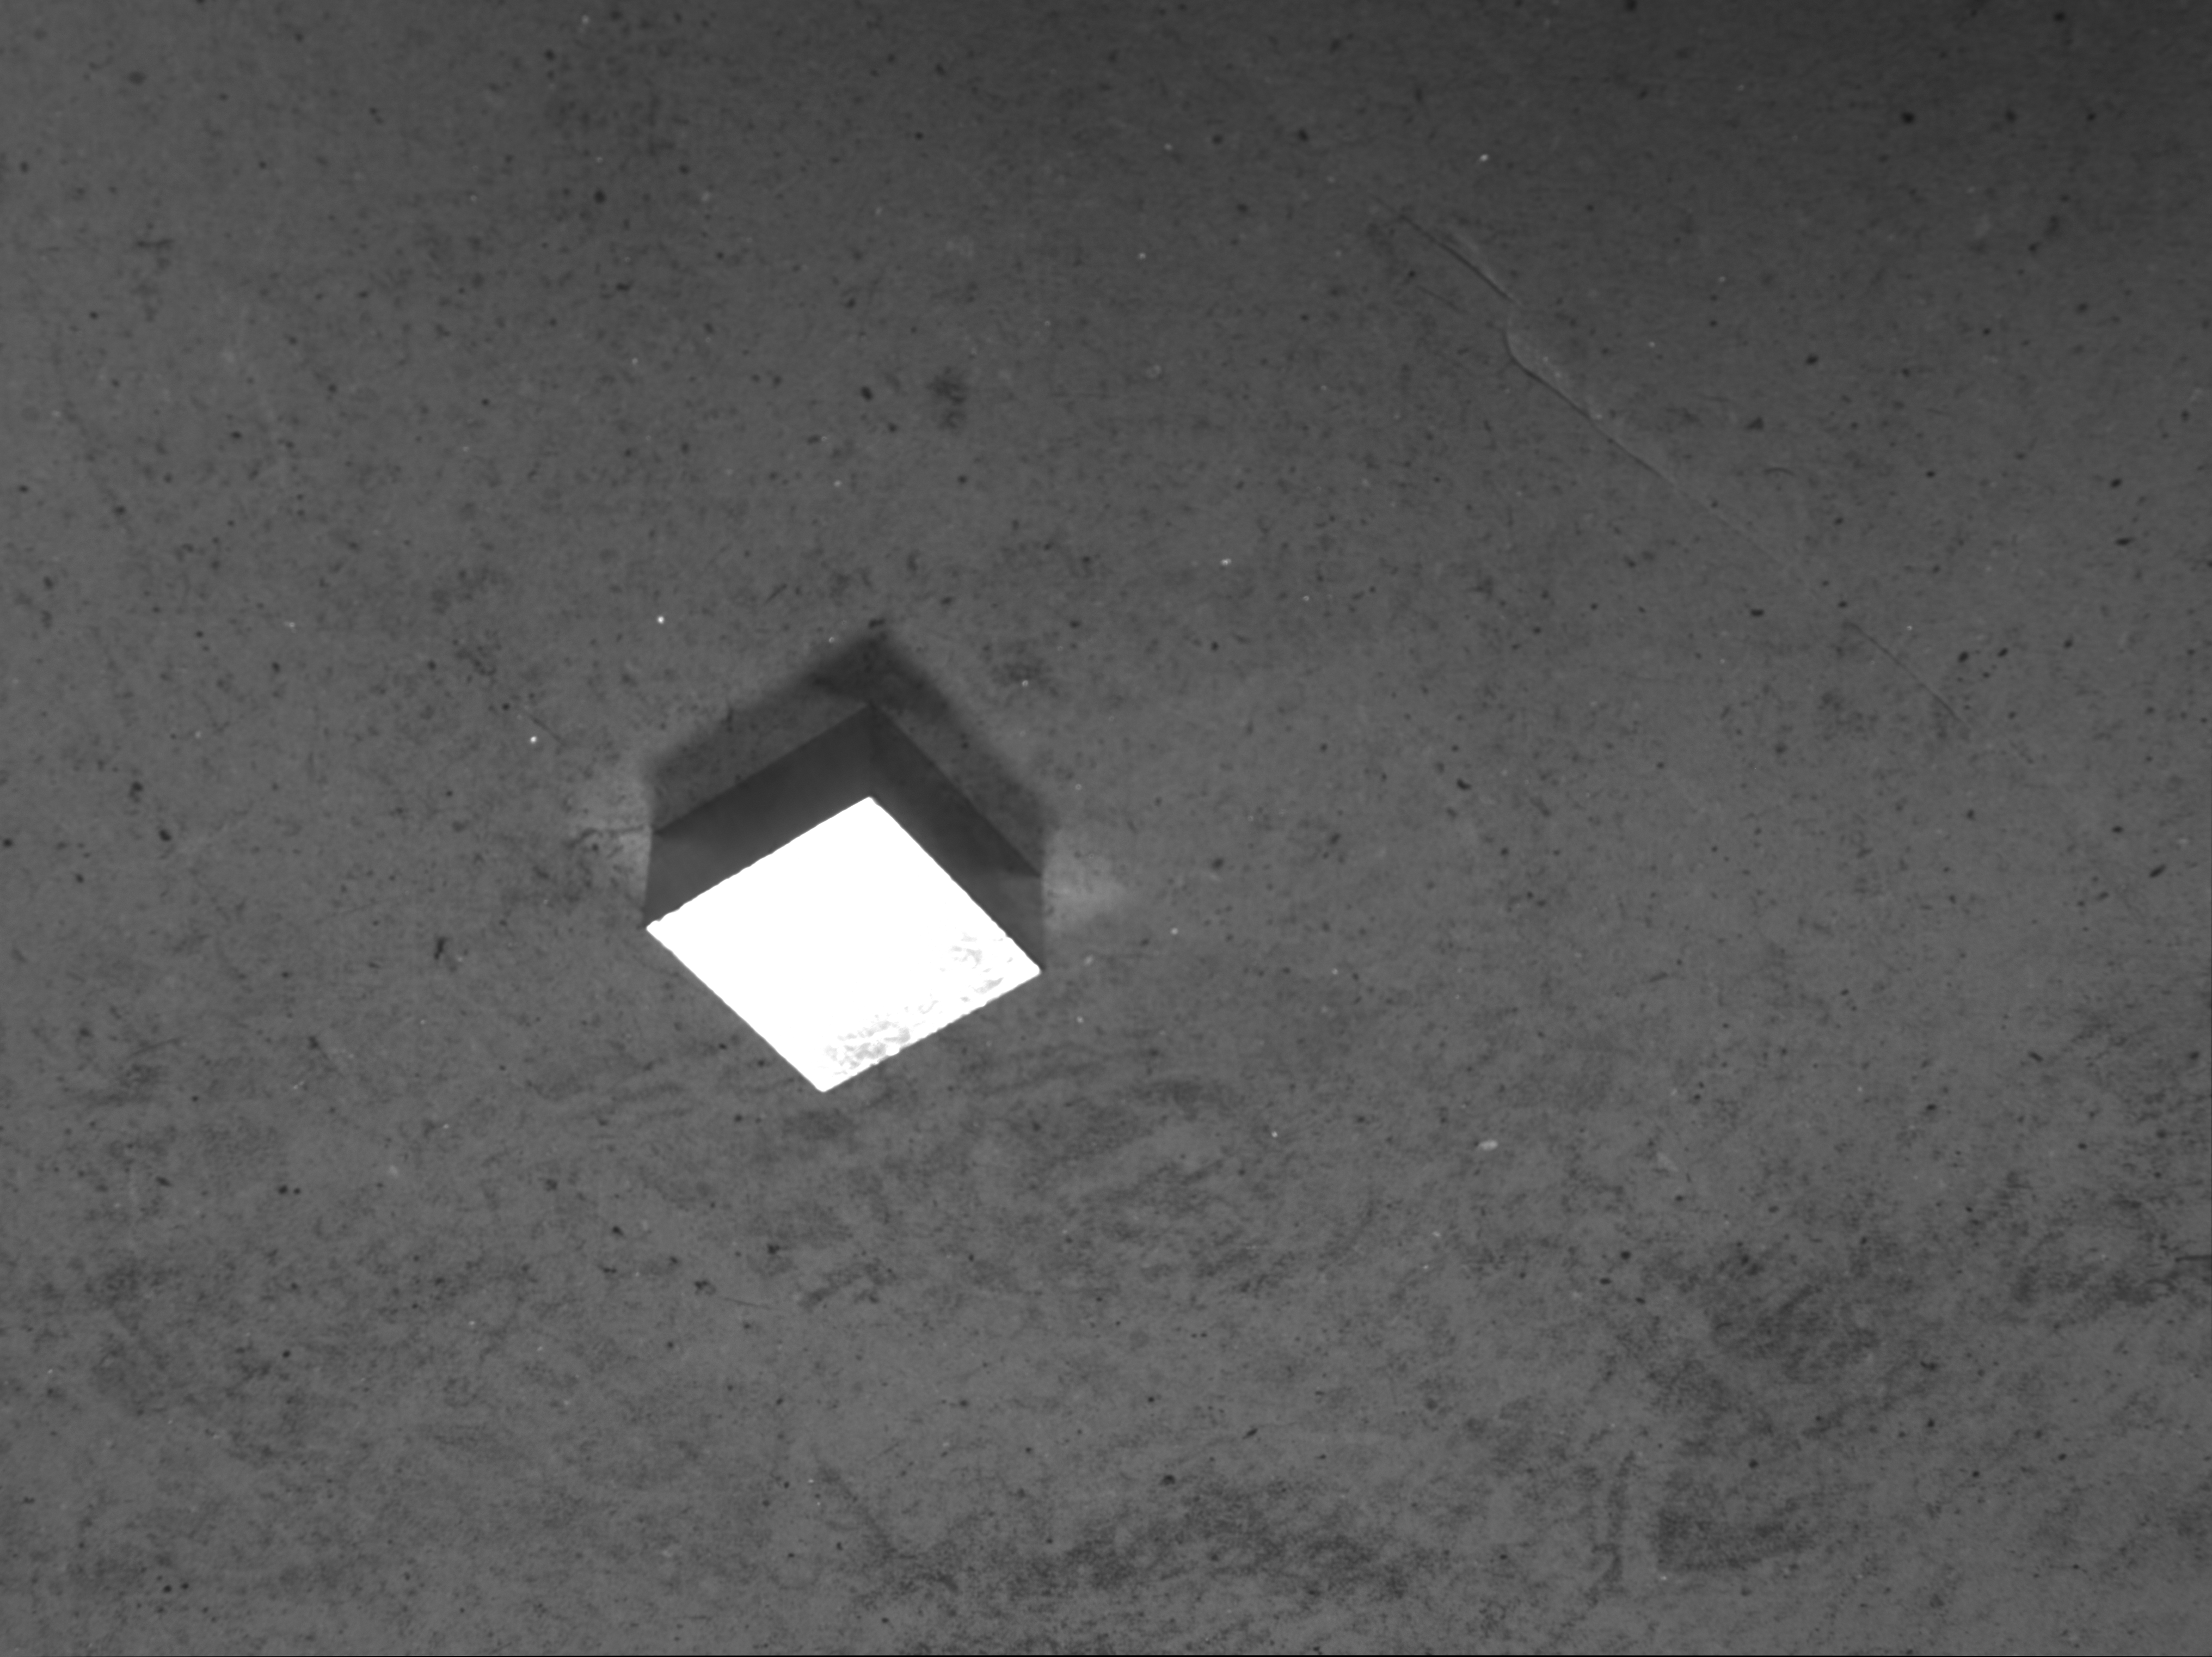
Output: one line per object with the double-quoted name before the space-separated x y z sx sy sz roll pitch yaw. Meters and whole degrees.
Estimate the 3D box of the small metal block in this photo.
"small metal block" -0.037 0.014 0.649 0.050 0.025 0.050 -29 125 21
